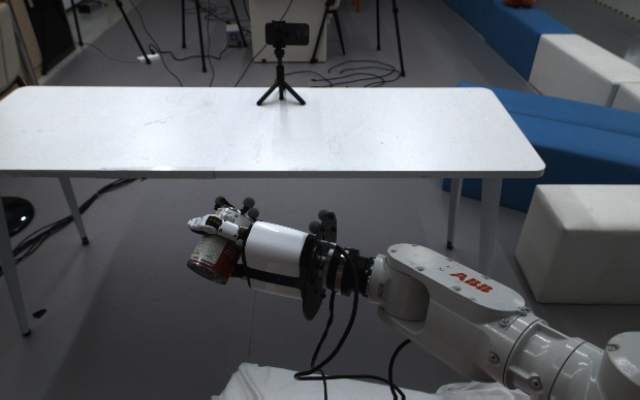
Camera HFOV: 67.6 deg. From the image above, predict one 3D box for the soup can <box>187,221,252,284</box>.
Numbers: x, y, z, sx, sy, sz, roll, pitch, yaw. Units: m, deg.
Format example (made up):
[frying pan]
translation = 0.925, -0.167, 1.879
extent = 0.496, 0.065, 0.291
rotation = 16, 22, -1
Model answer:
[soup can]
translation = -0.149, 0.070, 0.736
extent = 0.067, 0.067, 0.101
rotation = 16, 63, 19
